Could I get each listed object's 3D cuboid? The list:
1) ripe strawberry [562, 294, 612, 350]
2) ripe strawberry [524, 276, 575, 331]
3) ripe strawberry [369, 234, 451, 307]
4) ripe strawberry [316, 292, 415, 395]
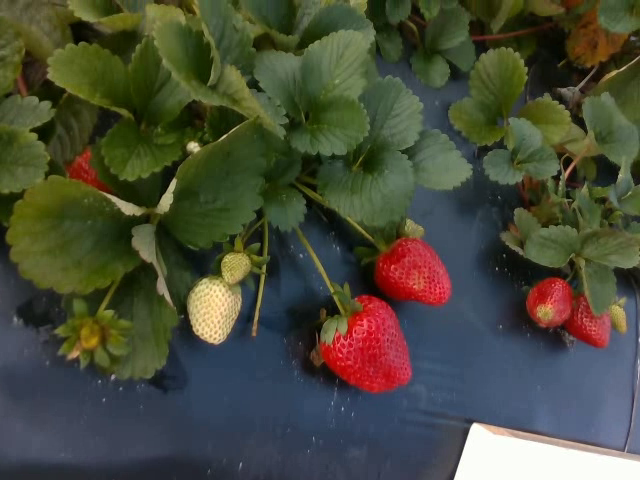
[{"bbox_3d":[0.215,0.070,0.486,0.043,0.041,0.049,13,32,-25],"label":"ripe strawberry"},{"bbox_3d":[0.176,0.053,0.478,0.038,0.047,0.053,13,19,32],"label":"ripe strawberry"},{"bbox_3d":[0.068,0.026,0.424,0.059,0.051,0.051,42,-4,24],"label":"ripe strawberry"},{"bbox_3d":[0.034,0.070,0.389,0.058,0.065,0.043,-42,7,-6],"label":"ripe strawberry"}]
